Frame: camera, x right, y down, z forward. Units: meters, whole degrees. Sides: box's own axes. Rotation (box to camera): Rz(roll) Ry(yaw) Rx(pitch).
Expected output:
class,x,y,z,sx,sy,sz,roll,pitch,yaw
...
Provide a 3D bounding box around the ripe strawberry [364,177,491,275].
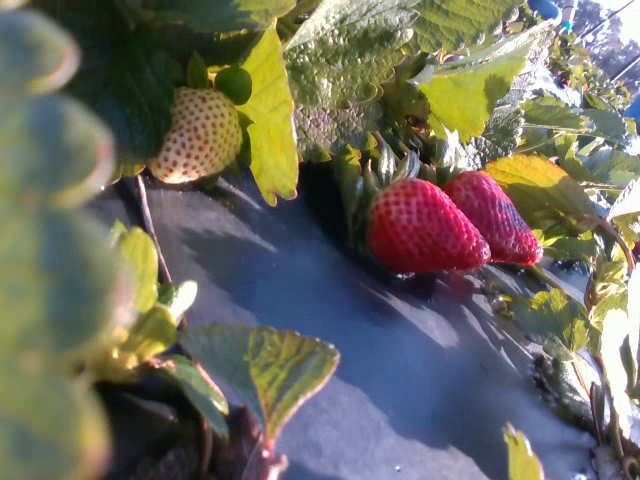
class,x,y,z,sx,sy,sz,roll,pitch,yaw
ripe strawberry,0.040,-0.002,0.221,0.051,0.043,0.037,31,-36,14

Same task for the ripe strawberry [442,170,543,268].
class,x,y,z,sx,sy,sz,roll,pitch,yaw
ripe strawberry,0.072,-0.004,0.267,0.057,0.046,0.052,34,48,19
